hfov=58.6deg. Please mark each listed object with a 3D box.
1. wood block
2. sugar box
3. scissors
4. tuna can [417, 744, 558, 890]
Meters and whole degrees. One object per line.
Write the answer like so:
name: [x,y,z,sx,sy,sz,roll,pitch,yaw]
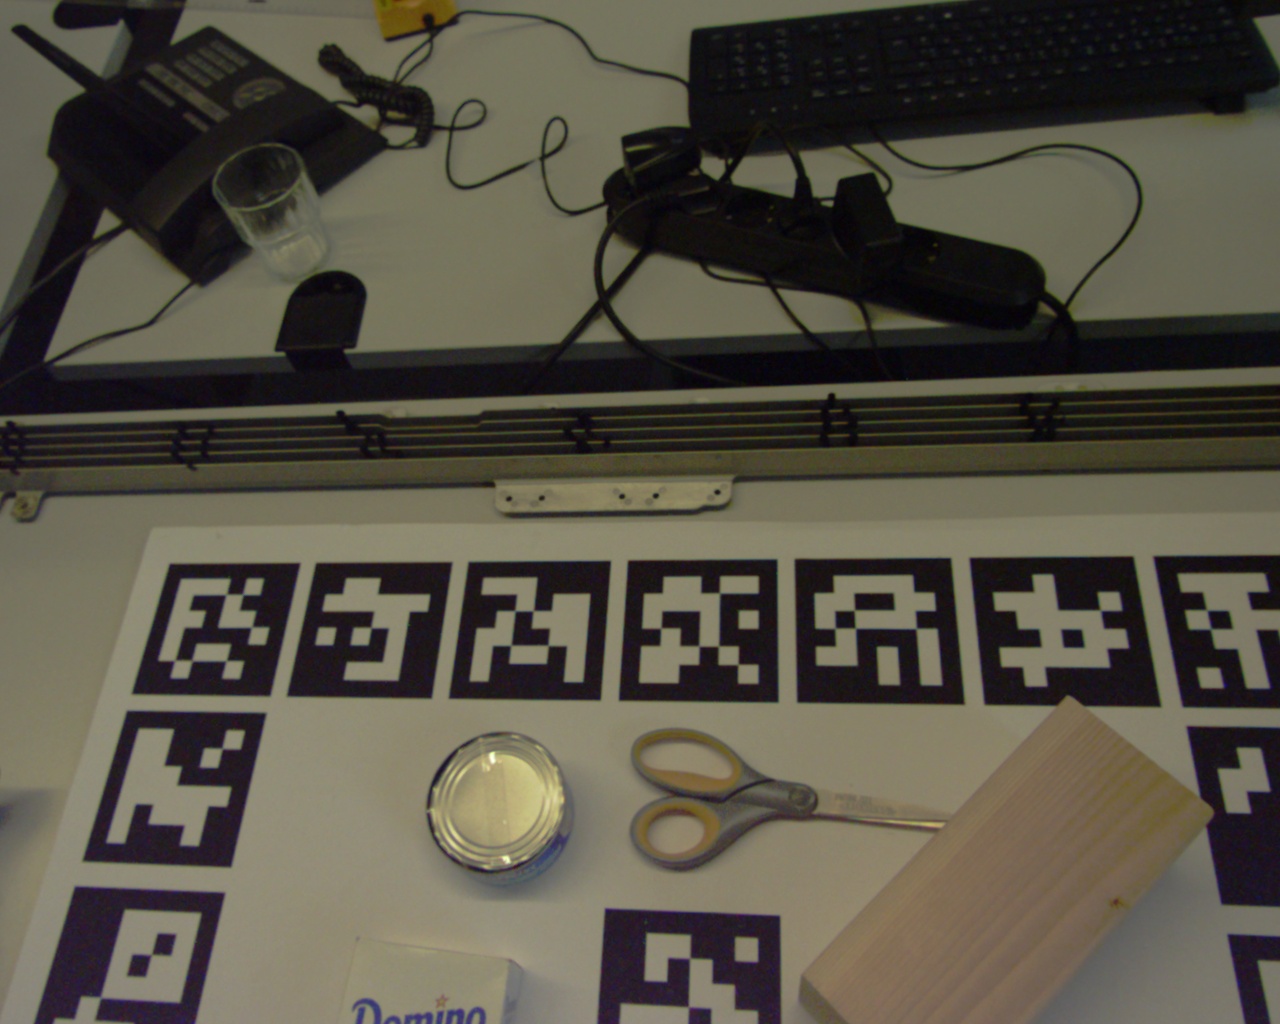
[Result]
wood block: [0.184,0.231,0.625,0.205,0.090,0.091,-40,61,-14]
sugar box: [-0.134,0.341,0.644,0.093,0.045,0.176,4,61,11]
scissors: [0.078,0.192,0.706,0.204,0.016,0.088,6,62,16]
tuna can: [-0.095,0.194,0.723,0.086,0.033,0.086,-5,60,8]
